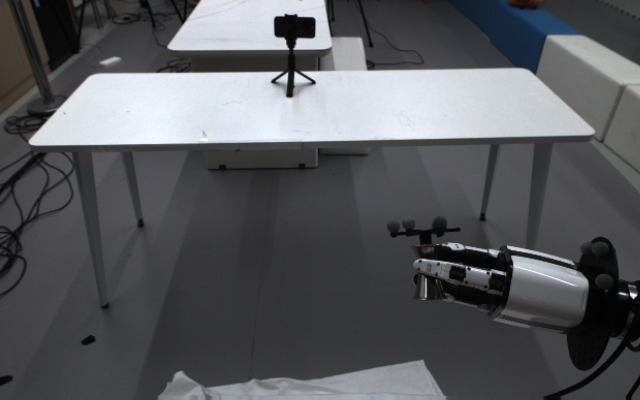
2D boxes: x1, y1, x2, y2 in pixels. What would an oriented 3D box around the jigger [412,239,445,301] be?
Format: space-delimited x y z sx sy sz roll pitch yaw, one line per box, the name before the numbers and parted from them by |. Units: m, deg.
jigger | 0.138 0.091 0.618 0.043 0.071 0.043 -2 -7 0
